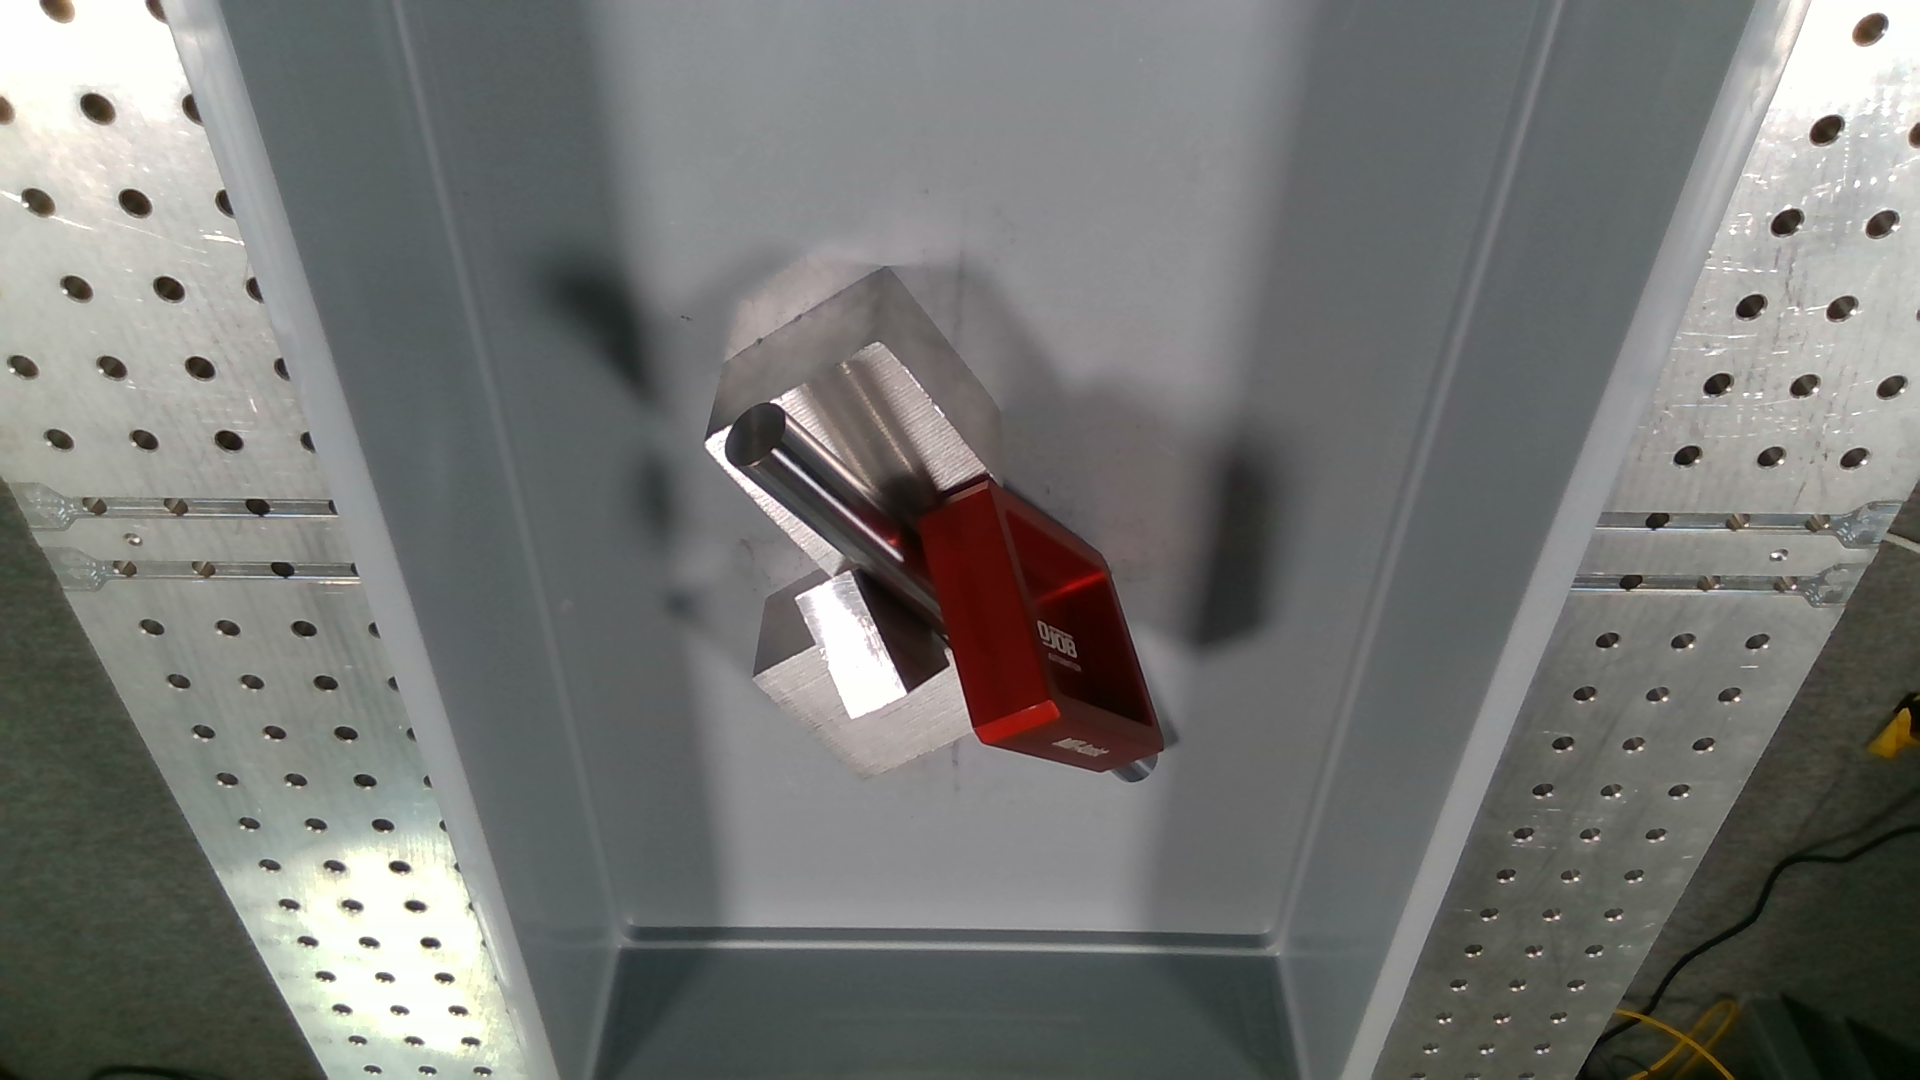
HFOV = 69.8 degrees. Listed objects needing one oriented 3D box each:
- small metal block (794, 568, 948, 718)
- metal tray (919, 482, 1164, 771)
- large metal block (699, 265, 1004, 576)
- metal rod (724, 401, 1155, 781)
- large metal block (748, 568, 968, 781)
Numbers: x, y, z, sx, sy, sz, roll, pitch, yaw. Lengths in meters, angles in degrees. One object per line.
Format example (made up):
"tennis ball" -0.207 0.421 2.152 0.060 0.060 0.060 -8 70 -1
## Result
"small metal block" -0.033 0.035 0.528 0.025 0.050 0.050 -25 89 19
"metal tray" 0.035 0.039 0.533 0.030 0.090 0.130 -22 159 19
"large metal block" -0.039 -0.043 0.523 0.080 0.050 0.080 -27 125 21
"metal rod" 0.008 0.035 0.559 0.025 0.025 0.301 -25 141 19
"large metal block" -0.033 0.050 0.604 0.080 0.050 0.080 -27 125 21
